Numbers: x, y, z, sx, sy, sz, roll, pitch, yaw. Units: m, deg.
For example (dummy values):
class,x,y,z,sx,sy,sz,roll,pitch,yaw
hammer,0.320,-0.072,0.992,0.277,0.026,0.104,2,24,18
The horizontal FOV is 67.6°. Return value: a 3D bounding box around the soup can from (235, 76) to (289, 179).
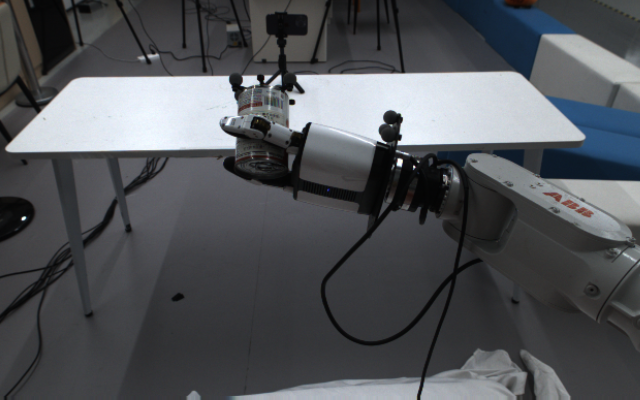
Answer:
class,x,y,z,sx,sy,sz,roll,pitch,yaw
soup can,-0.072,-0.084,0.610,0.067,0.067,0.101,1,72,-2
